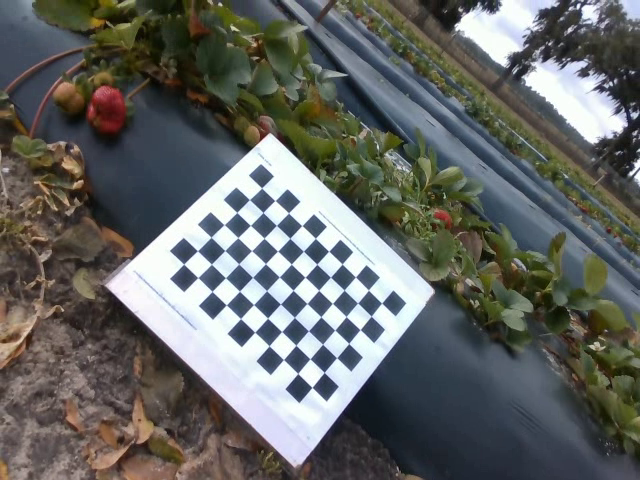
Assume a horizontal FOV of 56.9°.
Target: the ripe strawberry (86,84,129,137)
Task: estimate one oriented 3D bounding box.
[{"bbox_3d":[-0.276,-0.176,0.767,0.066,0.075,0.052,27,-22,-8],"label":"ripe strawberry"}]
